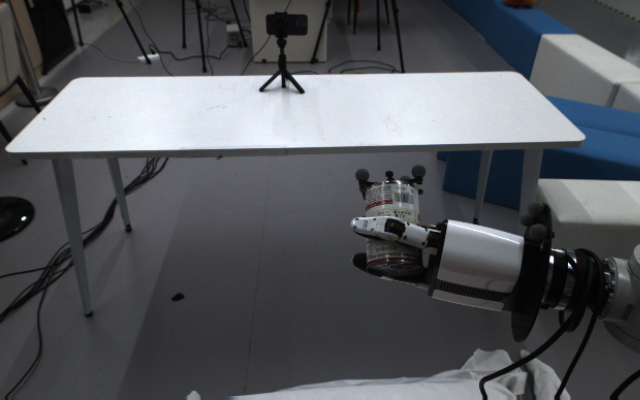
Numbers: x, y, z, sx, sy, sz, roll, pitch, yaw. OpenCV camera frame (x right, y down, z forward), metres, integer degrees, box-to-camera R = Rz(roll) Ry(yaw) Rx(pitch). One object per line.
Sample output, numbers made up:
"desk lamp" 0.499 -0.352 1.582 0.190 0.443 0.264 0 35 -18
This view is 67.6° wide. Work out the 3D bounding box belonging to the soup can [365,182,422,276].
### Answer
"soup can" 0.090 0.036 0.587 0.067 0.067 0.101 2 68 -1
